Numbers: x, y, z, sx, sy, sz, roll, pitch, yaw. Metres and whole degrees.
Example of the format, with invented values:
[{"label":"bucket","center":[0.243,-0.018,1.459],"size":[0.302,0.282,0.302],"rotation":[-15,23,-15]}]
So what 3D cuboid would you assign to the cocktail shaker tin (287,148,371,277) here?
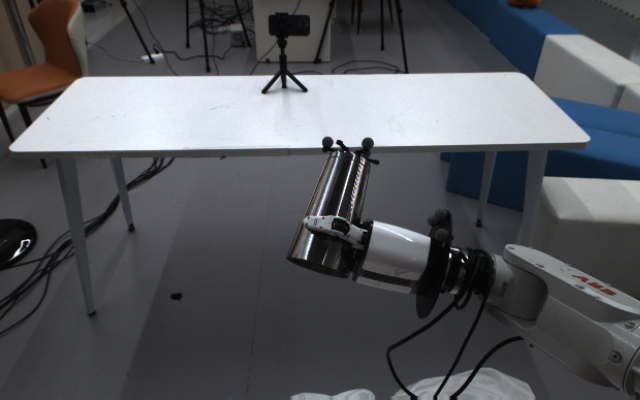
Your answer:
[{"label":"cocktail shaker tin","center":[0.018,0.018,0.704],"size":[0.093,0.093,0.170],"rotation":[13,73,16]}]
